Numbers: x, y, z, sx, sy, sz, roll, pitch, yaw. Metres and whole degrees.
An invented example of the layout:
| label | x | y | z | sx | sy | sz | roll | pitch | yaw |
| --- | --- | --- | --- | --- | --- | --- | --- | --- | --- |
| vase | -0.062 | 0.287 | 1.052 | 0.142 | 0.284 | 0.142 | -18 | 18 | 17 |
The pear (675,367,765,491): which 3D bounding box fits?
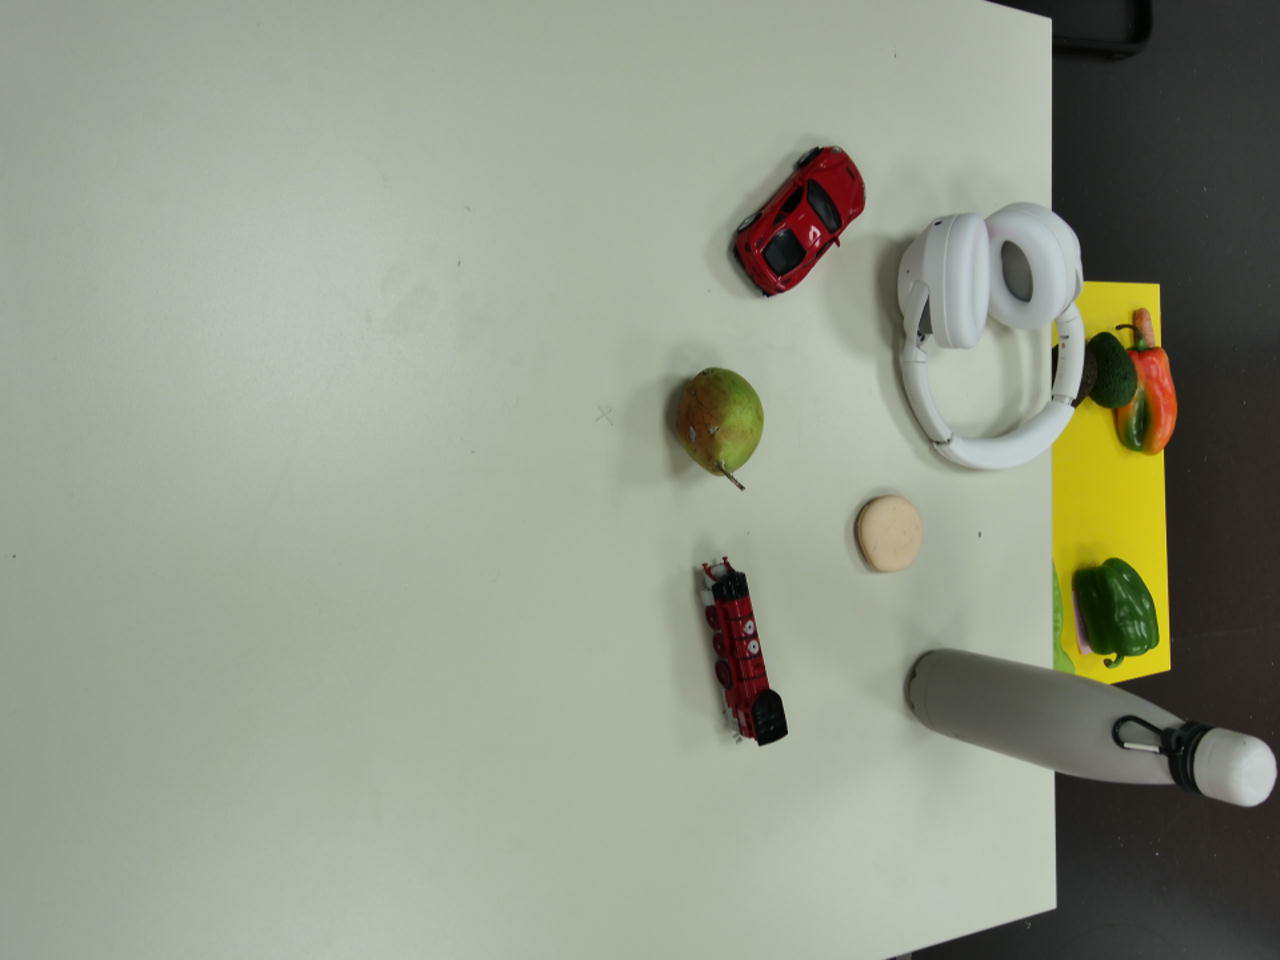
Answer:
| label | x | y | z | sx | sy | sz | roll | pitch | yaw |
| --- | --- | --- | --- | --- | --- | --- | --- | --- | --- |
| pear | 0.056 | -0.041 | 0.699 | 0.070 | 0.069 | 0.068 | -44 | 109 | -21 |
